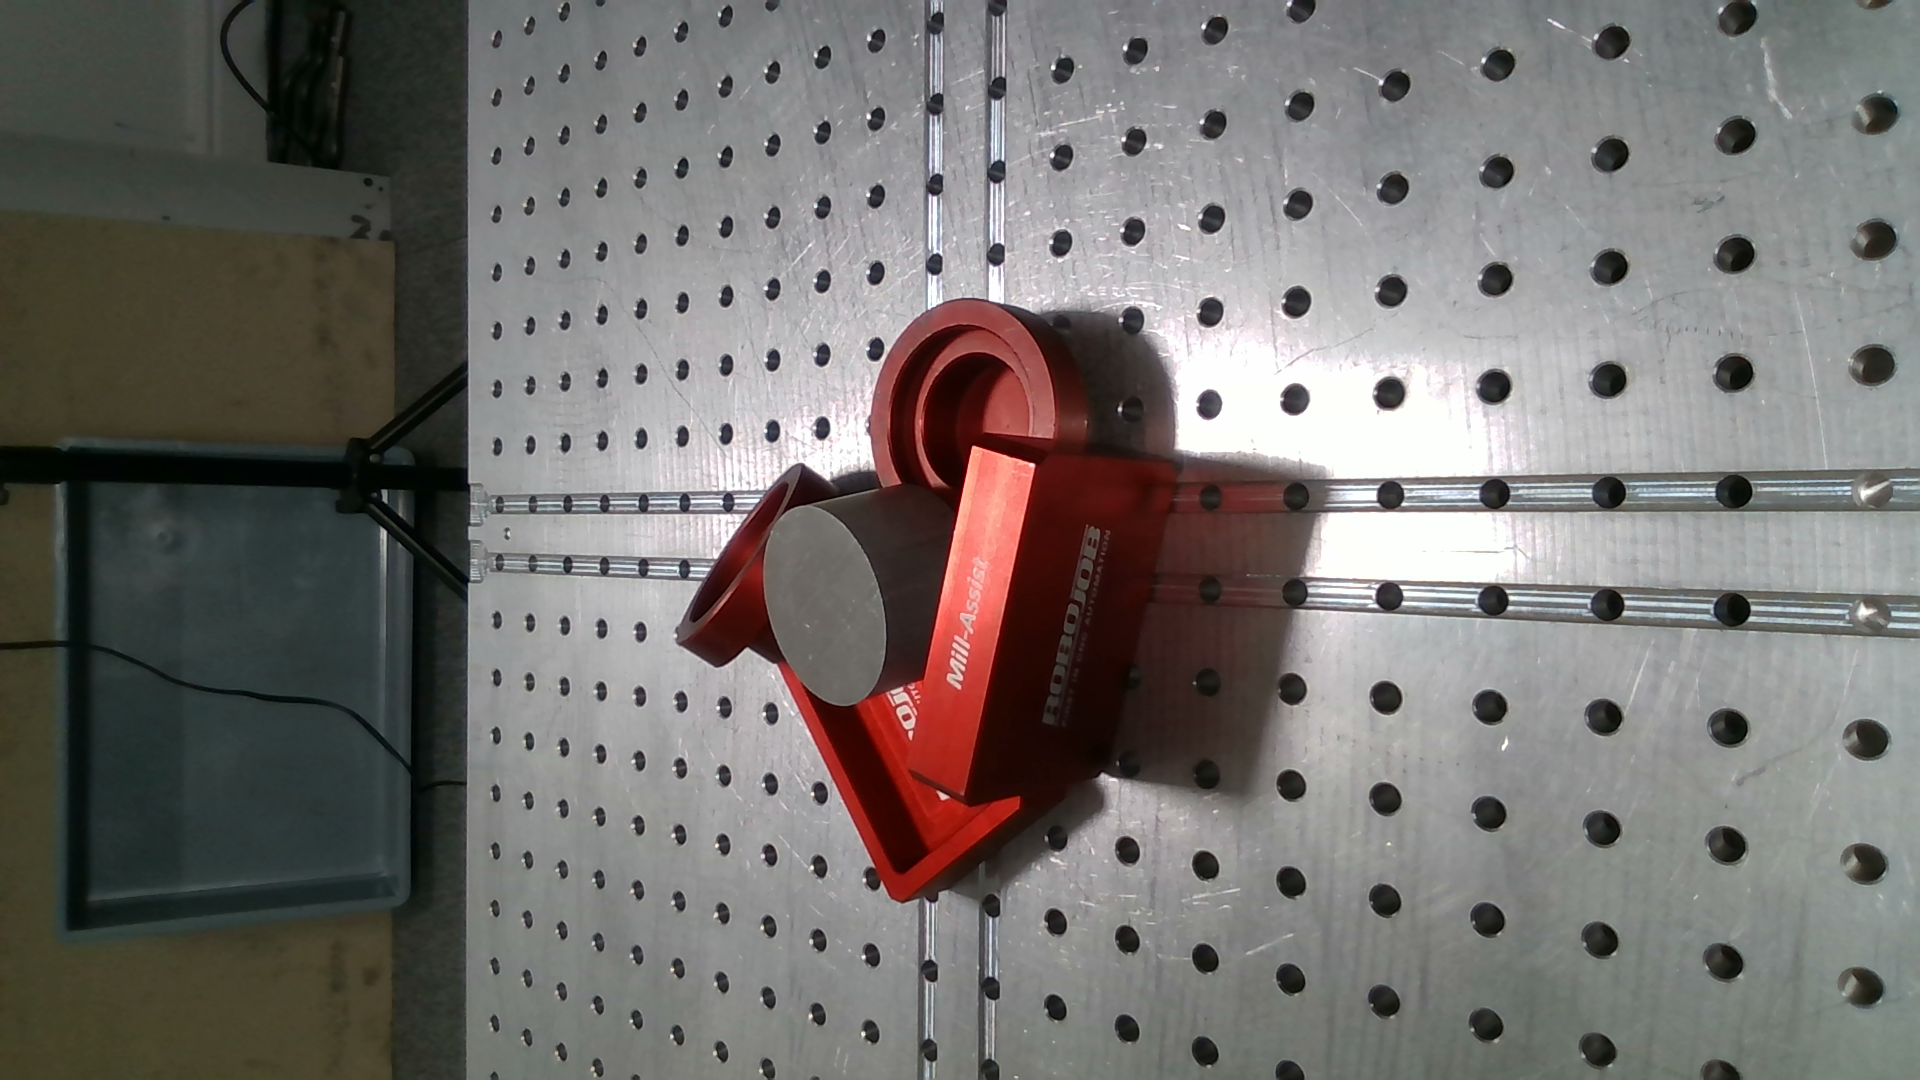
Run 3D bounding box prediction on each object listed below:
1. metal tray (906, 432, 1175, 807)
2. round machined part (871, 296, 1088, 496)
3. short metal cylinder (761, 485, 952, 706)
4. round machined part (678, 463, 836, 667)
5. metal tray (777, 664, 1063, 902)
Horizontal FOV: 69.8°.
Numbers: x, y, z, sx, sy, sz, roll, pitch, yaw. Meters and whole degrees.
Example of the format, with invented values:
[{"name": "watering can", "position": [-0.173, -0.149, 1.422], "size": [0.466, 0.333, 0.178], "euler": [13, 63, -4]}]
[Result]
[{"name": "metal tray", "position": [0.032, 0.028, 0.516], "size": [0.030, 0.090, 0.130], "euler": [20, 103, 38]}, {"name": "round machined part", "position": [0.013, -0.048, 0.563], "size": [0.098, 0.042, 0.098], "euler": [0, 91, 40]}, {"name": "short metal cylinder", "position": [-0.036, 0.021, 0.551], "size": [0.080, 0.050, 0.080], "euler": [19, 116, 44]}, {"name": "round machined part", "position": [-0.083, 0.017, 0.622], "size": [0.098, 0.042, 0.098], "euler": [-49, 17, 21]}, {"name": "metal tray", "position": [-0.021, 0.078, 0.600], "size": [0.090, 0.030, 0.130], "euler": [-44, 64, 31]}]
